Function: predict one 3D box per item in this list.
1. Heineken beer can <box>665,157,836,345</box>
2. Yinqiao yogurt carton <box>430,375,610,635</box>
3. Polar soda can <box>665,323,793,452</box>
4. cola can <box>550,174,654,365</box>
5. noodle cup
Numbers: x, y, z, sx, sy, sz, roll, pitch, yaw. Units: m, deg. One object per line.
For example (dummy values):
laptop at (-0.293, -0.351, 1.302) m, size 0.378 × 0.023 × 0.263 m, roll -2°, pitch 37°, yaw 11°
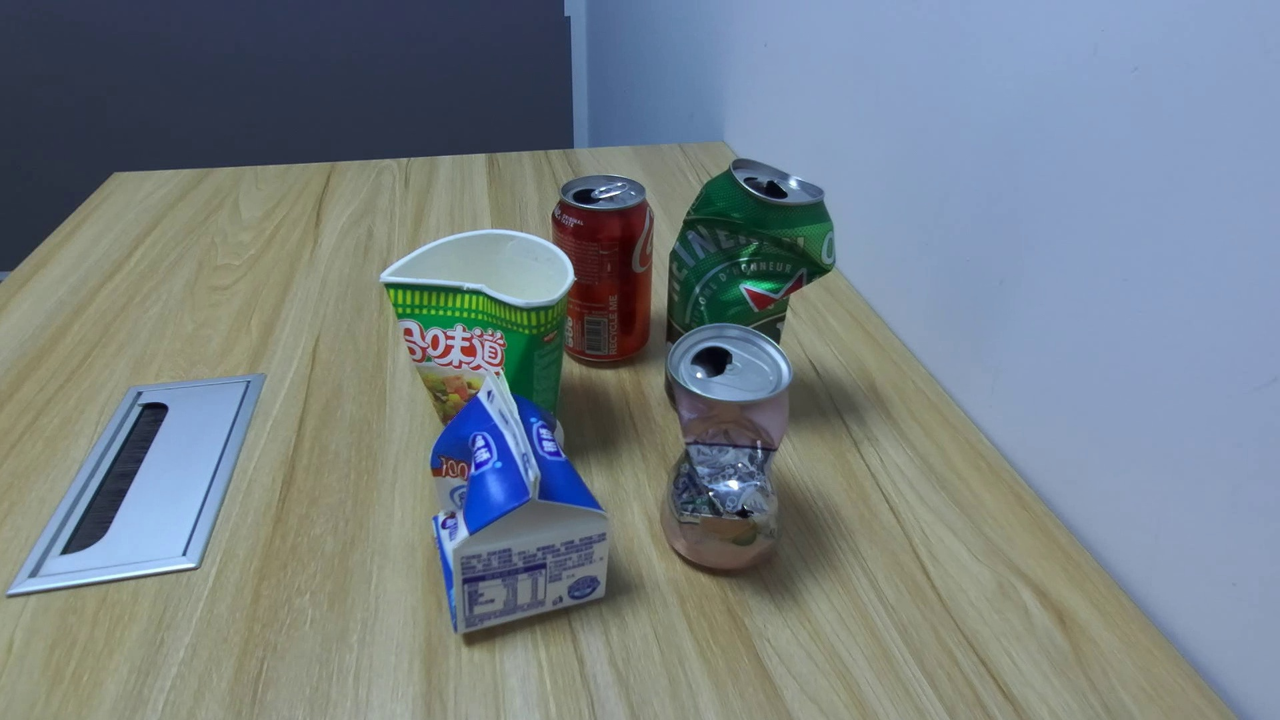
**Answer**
Heineken beer can at (0.055, -0.034, 0.415) m, size 0.079 × 0.159 × 0.067 m, roll -1°, pitch 36°, yaw -17°
Yinqiao yogurt carton at (-0.057, 0.063, 0.331) m, size 0.071 × 0.094 × 0.077 m, roll -7°, pitch 36°, yaw -23°
Polar soda can at (0.042, 0.044, 0.346) m, size 0.074 × 0.114 × 0.070 m, roll 25°, pitch 48°, yaw 36°
cola can at (-0.025, -0.060, 0.482) m, size 0.068 × 0.120 × 0.068 m, roll 1°, pitch 32°, yaw 0°
noodle cup at (-0.081, -0.006, 0.409) m, size 0.093 × 0.109 × 0.087 m, roll 25°, pitch 42°, yaw 28°
